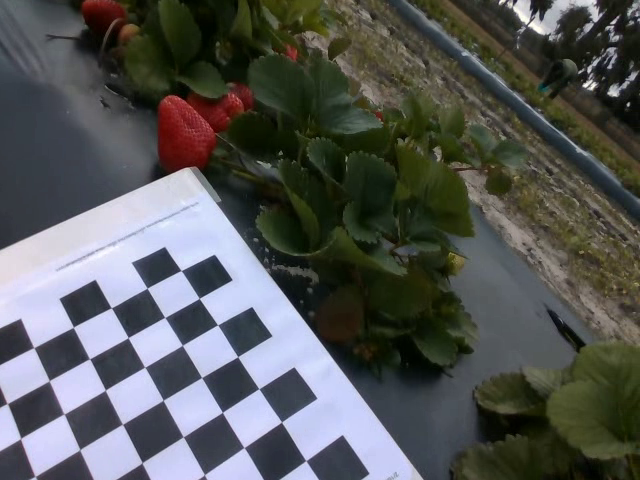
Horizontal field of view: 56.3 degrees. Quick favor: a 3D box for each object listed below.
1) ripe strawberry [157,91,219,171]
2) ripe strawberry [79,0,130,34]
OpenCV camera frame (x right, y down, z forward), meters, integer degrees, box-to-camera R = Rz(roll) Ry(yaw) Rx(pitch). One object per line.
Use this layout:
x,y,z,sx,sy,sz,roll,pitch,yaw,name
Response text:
-0.112,-0.088,0.471,0.057,0.056,0.065,3,-36,22,ripe strawberry
-0.212,-0.225,0.576,0.043,0.041,0.051,30,13,22,ripe strawberry
